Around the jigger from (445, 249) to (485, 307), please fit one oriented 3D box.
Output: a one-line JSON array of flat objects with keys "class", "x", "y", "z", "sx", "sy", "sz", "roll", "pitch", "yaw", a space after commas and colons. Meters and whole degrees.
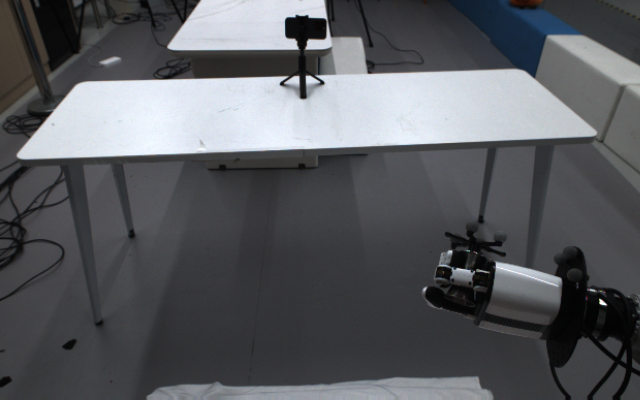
[{"class": "jigger", "x": 0.203, "y": 0.104, "z": 0.669, "sx": 0.043, "sy": 0.043, "sz": 0.071, "roll": 16, "pitch": 70, "yaw": 19}]
